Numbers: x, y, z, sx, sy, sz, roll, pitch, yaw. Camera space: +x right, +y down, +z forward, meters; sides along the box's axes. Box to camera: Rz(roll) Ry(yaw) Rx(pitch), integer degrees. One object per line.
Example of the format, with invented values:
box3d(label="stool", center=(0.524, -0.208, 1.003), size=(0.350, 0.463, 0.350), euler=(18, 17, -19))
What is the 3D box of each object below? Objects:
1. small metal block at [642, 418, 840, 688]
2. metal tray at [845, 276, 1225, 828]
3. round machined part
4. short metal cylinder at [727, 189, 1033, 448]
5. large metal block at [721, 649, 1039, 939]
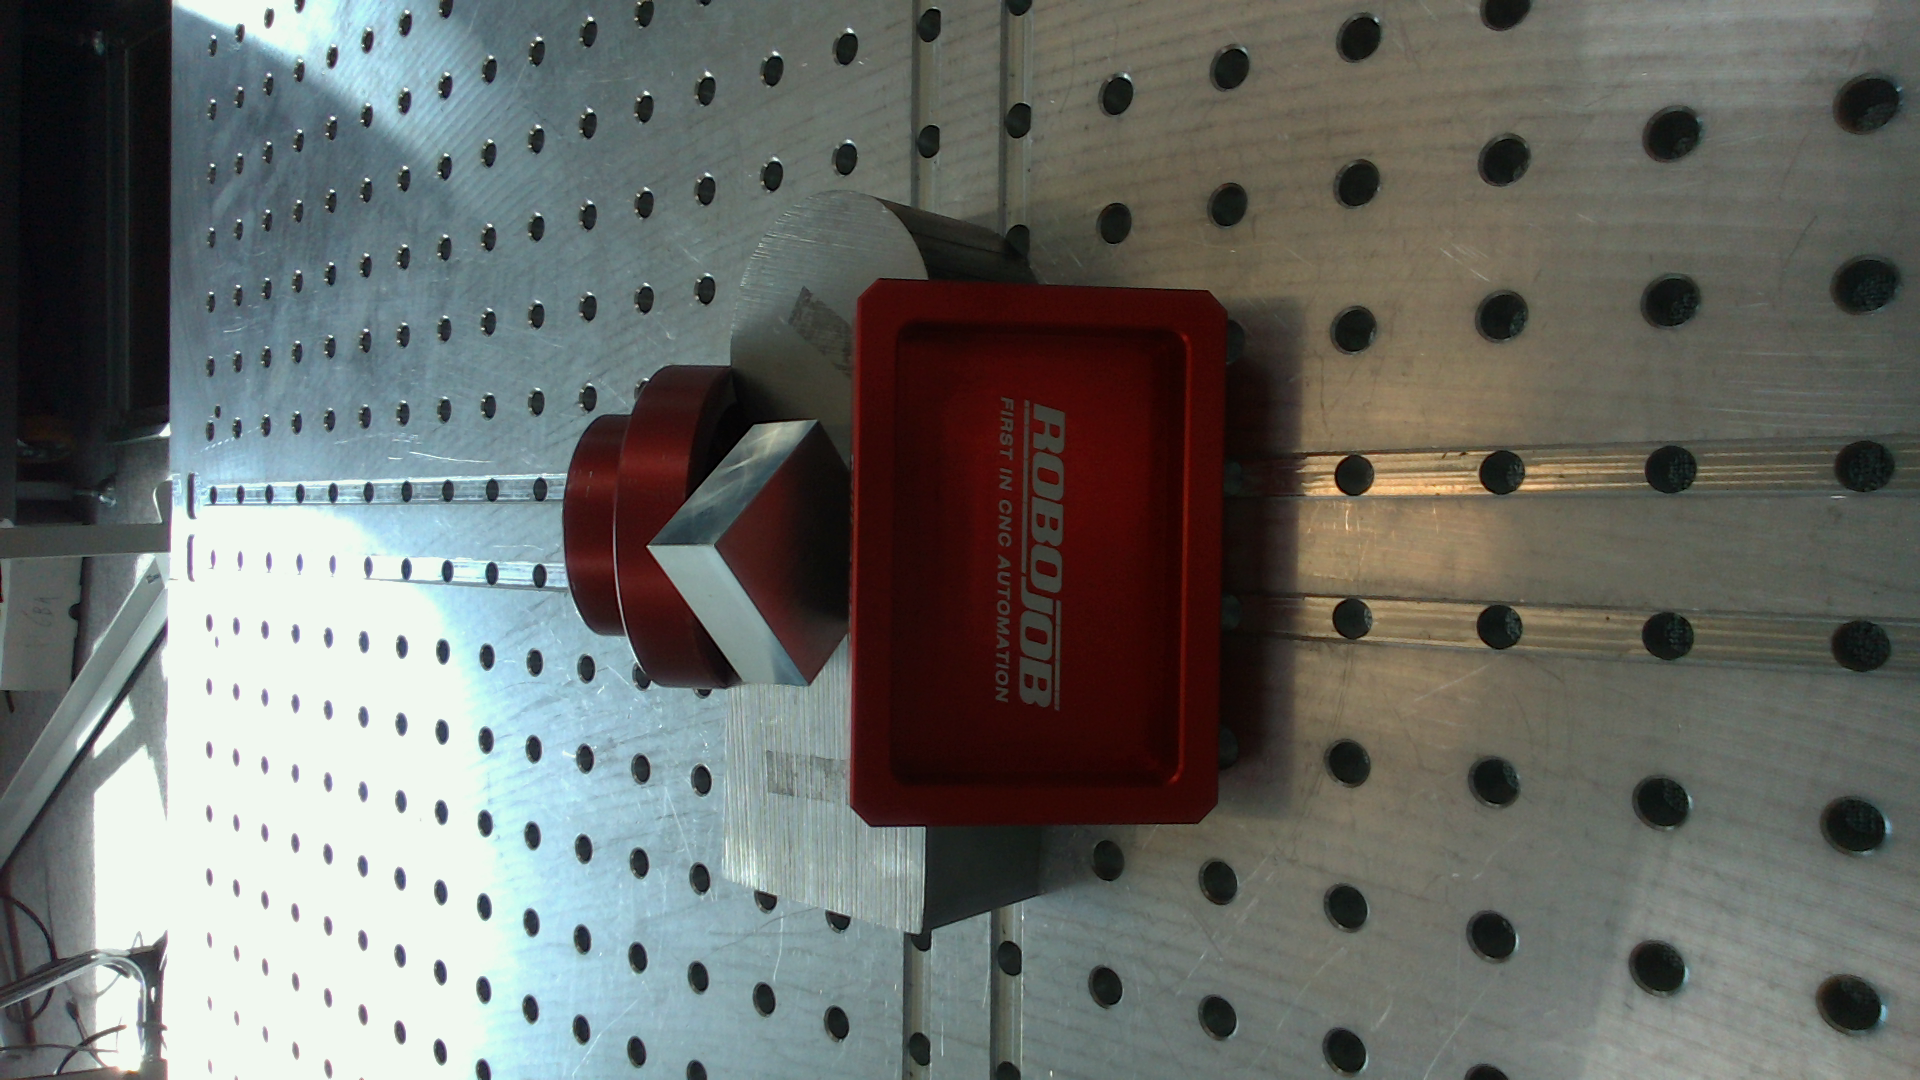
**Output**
box3d(label="small metal block", center=(-0.049, 0.003, 0.367), size=(0.025, 0.050, 0.050), euler=(0, 132, 37))
box3d(label="metal tray", center=(0.017, 0.003, 0.343), size=(0.030, 0.090, 0.130), euler=(-174, 85, -83))
box3d(label="round machined part", center=(-0.089, -0.004, 0.420), size=(0.042, 0.098, 0.098), euler=(1, 91, 7))
box3d(label="short metal cylinder", center=(-0.022, -0.056, 0.399), size=(0.080, 0.050, 0.080), euler=(0, 90, 40))
box3d(label="large metal block", center=(-0.023, 0.062, 0.401), size=(0.080, 0.050, 0.080), euler=(3, 92, 40))
